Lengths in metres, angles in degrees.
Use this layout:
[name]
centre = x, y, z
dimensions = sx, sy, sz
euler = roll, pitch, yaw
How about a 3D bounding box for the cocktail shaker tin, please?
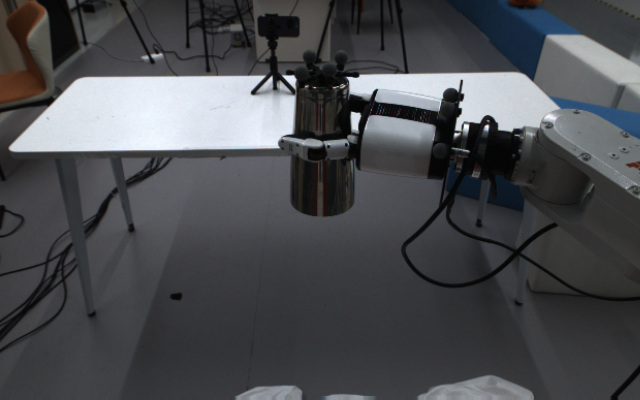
[cocktail shaker tin]
centre = 0.005, -0.075, 0.635
dimensions = 0.093, 0.170, 0.093
euler = 0, 33, 0
